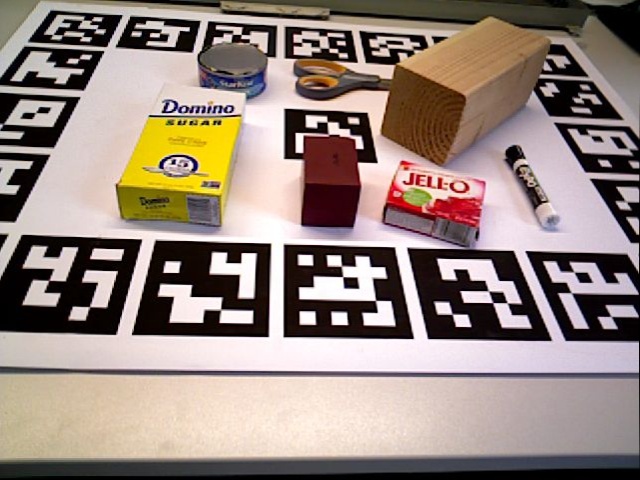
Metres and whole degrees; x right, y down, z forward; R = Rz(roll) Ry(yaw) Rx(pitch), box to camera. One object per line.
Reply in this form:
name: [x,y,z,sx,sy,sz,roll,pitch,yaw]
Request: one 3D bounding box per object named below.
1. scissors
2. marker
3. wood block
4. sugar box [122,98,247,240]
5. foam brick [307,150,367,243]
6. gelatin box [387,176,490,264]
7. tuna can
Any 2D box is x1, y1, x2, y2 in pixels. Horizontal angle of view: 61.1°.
scissors: [0.059,-0.188,0.694,0.202,0.016,0.086,6,46,2]
marker: [0.222,-0.044,0.570,0.019,0.020,0.119,2,49,-4]
wood block: [0.181,-0.163,0.636,0.090,0.093,0.201,35,52,25]
sugar box: [-0.128,-0.077,0.550,0.092,0.046,0.173,5,46,-3]
foam brick: [0.015,-0.042,0.520,0.052,0.052,0.077,3,47,-4]
gelatin box: [0.116,-0.022,0.532,0.089,0.031,0.071,15,48,9]
tuna can: [-0.111,-0.196,0.667,0.085,0.034,0.084,3,47,-4]
